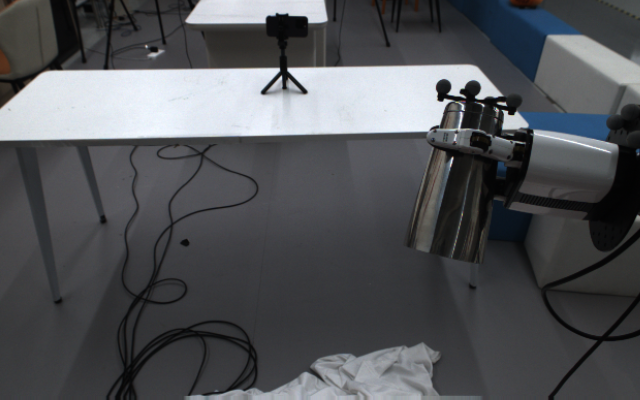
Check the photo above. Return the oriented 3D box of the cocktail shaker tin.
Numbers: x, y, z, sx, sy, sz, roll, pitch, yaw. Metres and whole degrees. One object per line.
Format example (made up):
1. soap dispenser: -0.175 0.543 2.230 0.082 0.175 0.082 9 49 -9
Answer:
1. cocktail shaker tin: 0.163 -0.024 0.558 0.093 0.170 0.093 13 1 0
